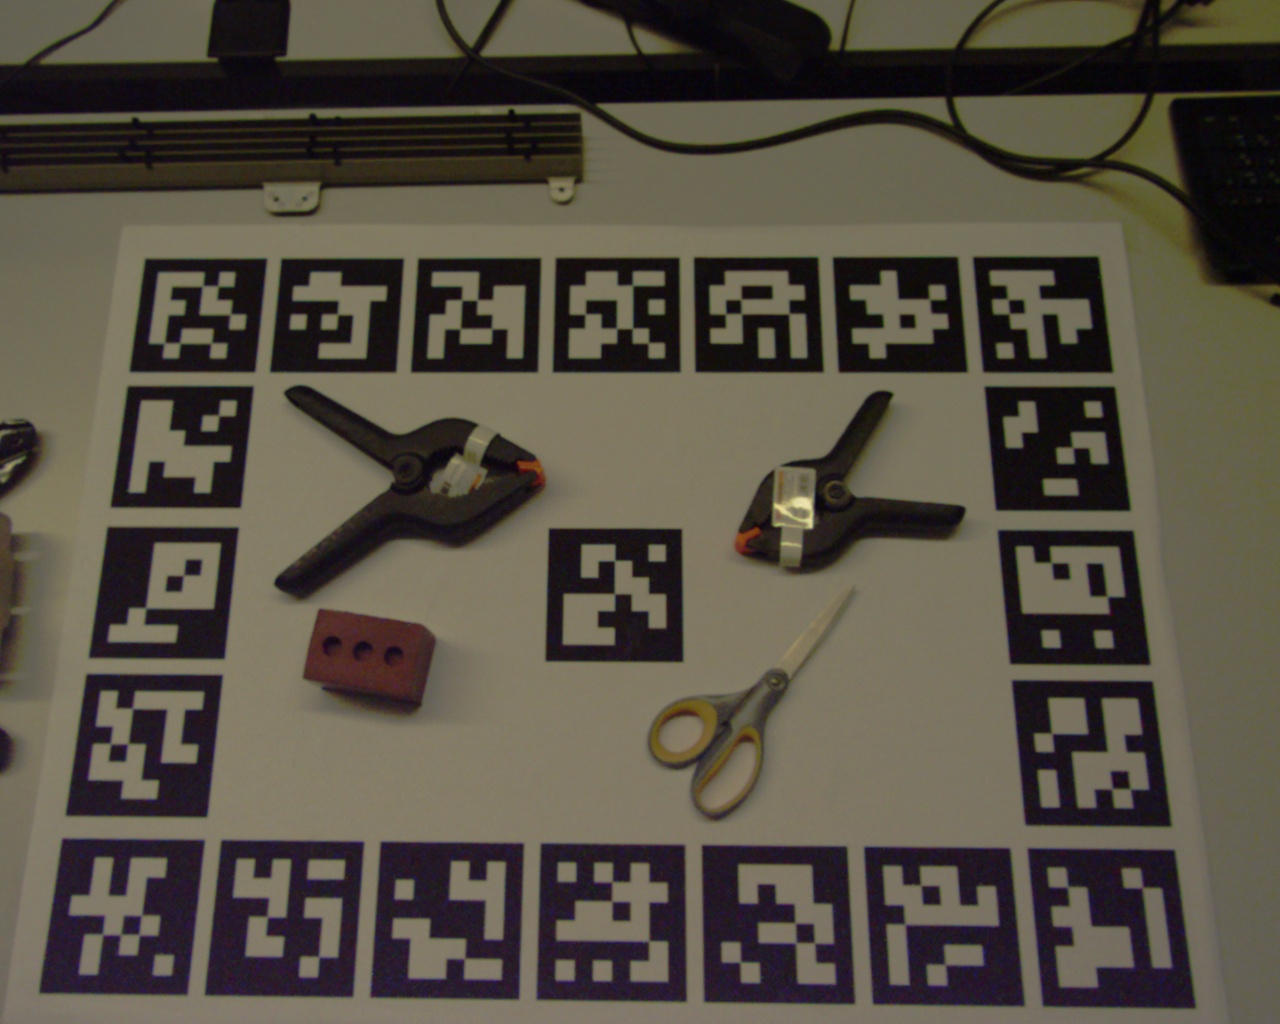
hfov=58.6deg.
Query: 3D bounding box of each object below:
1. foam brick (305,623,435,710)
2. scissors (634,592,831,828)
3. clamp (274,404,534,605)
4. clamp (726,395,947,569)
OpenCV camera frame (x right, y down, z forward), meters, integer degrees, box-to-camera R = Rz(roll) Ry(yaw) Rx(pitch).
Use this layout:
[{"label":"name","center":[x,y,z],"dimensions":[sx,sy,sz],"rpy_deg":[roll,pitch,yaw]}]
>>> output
[{"label":"foam brick","center":[-0.201,0.117,0.855],"dimensions":[0.078,0.051,0.053],"rpy_deg":[6,76,7]},{"label":"scissors","center":[0.080,0.136,0.855],"dimensions":[0.088,0.016,0.202],"rpy_deg":[39,77,3]},{"label":"clamp","center":[-0.185,-0.014,0.895],"dimensions":[0.203,0.036,0.166],"rpy_deg":[-4,72,-1]},{"label":"clamp","center":[0.141,-0.006,0.889],"dimensions":[0.165,0.036,0.122],"rpy_deg":[-28,83,-5]}]
